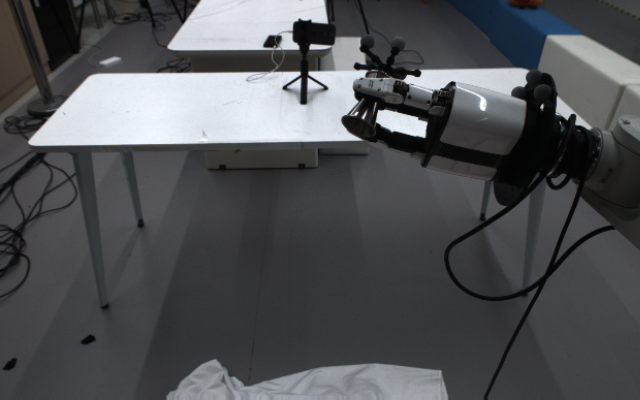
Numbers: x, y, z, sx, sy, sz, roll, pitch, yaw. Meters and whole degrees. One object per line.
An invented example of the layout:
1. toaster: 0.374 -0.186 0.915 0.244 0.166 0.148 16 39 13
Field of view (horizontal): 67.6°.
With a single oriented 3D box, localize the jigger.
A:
1. jigger: 0.059 -0.116 0.573 0.043 0.043 0.071 19 72 23
